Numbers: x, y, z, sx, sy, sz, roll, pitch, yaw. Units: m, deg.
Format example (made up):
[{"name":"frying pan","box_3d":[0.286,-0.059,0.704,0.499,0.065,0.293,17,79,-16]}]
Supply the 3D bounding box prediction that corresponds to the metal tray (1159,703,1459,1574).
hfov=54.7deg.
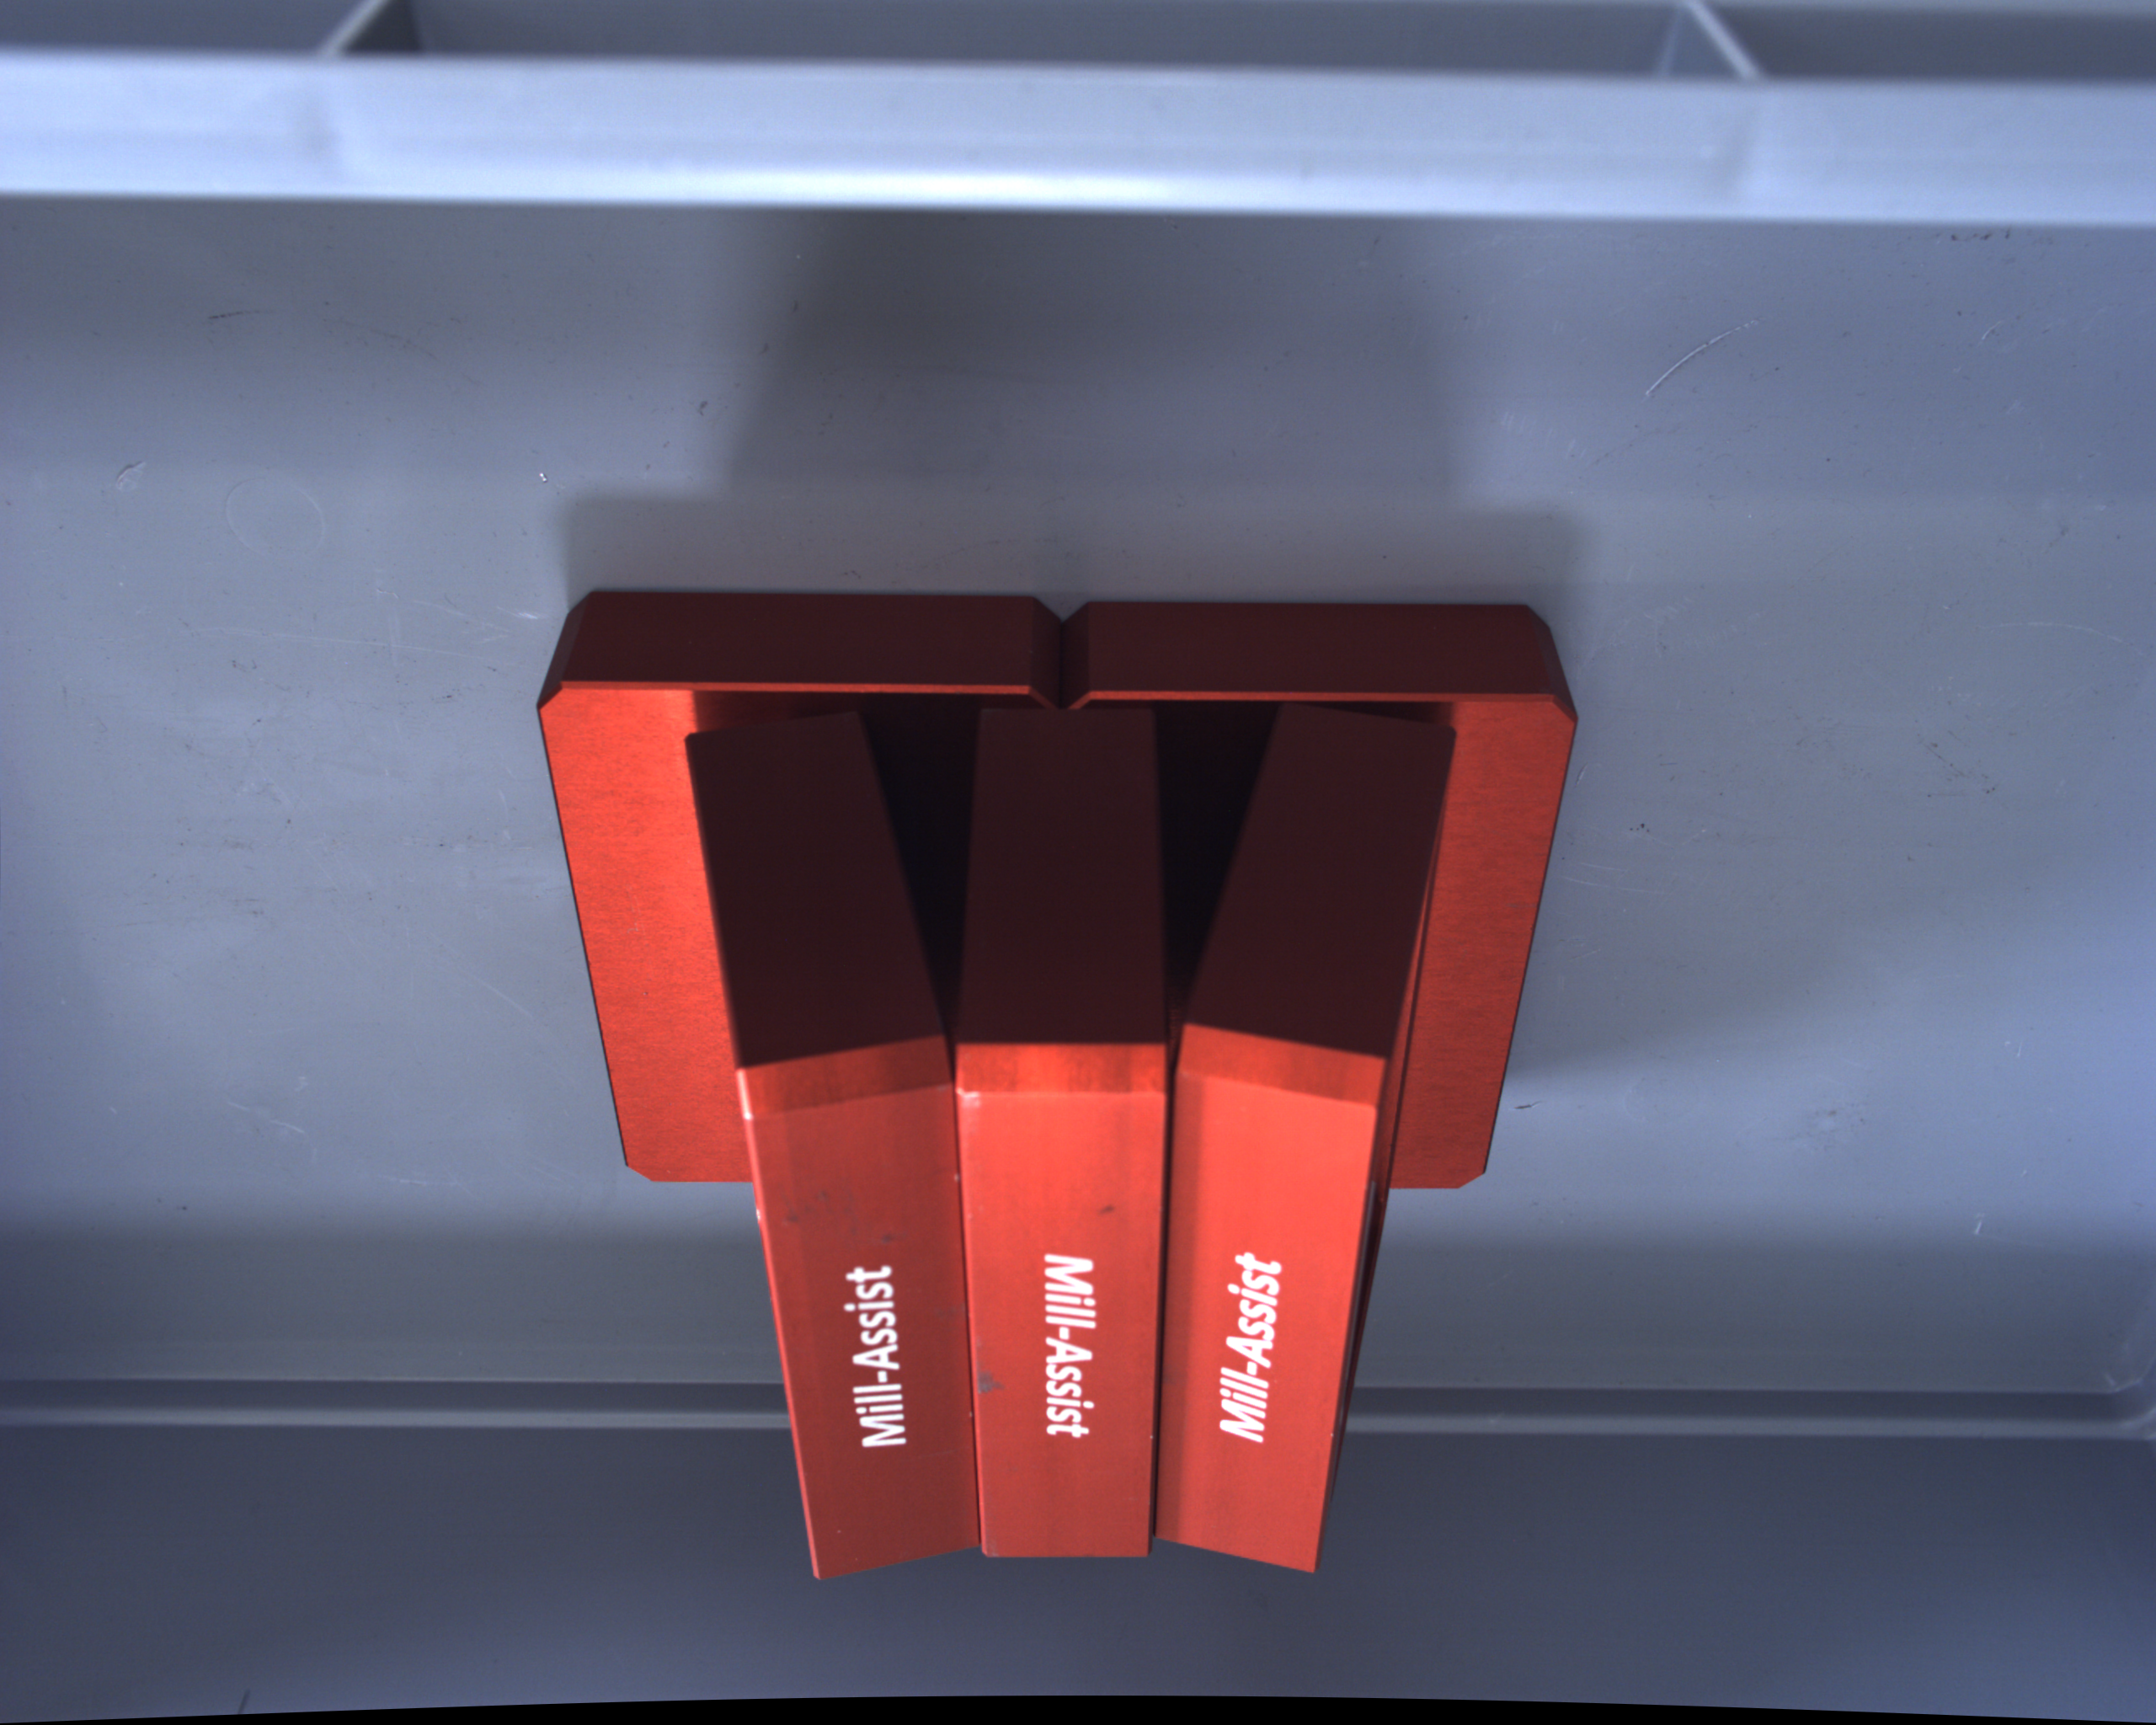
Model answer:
[{"name":"metal tray","box_3d":[0.039,0.049,0.364,0.030,0.090,0.129,9,131,11]}]

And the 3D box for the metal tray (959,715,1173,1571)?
[{"name":"metal tray","box_3d":[-0.002,0.050,0.366,0.030,0.090,0.129,0,128,0]}]

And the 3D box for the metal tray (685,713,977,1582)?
[{"name":"metal tray","box_3d":[-0.042,0.051,0.364,0.030,0.090,0.129,-8,131,-10]}]

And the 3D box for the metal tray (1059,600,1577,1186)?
[{"name":"metal tray","box_3d":[0.041,0.010,0.413,0.091,0.030,0.129,0,130,-1]}]

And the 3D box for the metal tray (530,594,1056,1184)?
[{"name":"metal tray","box_3d":[-0.050,0.010,0.410,0.091,0.030,0.129,0,130,-1]}]
